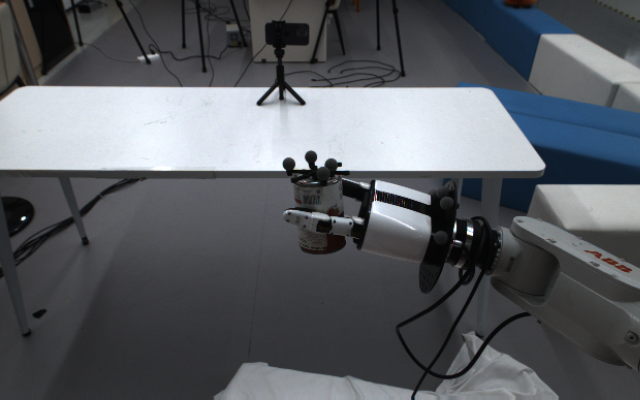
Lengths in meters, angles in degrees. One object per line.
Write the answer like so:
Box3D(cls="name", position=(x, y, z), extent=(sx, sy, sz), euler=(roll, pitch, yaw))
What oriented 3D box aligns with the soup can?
Box3D(cls="soup can", position=(0.001, 0.015, 0.665), extent=(0.067, 0.101, 0.067), euler=(-4, 21, 2))
